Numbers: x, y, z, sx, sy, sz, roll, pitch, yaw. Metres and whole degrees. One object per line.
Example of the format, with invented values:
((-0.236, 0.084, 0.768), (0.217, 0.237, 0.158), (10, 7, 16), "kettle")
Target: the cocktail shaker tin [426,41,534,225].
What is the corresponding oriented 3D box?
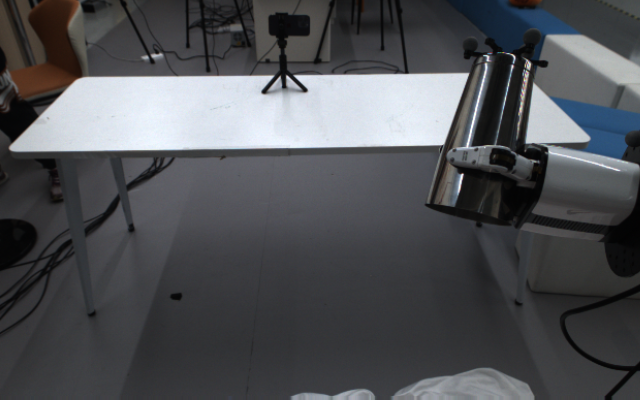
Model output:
((0.181, -0.065, 0.527), (0.093, 0.170, 0.093), (15, -4, 1), "cocktail shaker tin")
